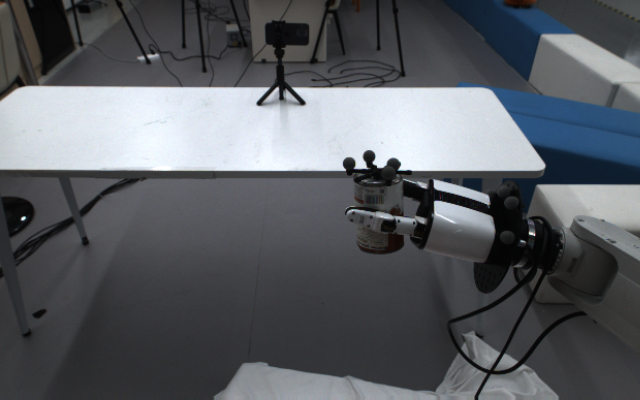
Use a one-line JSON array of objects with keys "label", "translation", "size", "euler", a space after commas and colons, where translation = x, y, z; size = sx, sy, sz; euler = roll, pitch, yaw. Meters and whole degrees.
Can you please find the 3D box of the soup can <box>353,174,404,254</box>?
[{"label": "soup can", "translation": [0.083, 0.014, 0.665], "size": [0.067, 0.101, 0.067], "euler": [-4, 21, 1]}]
